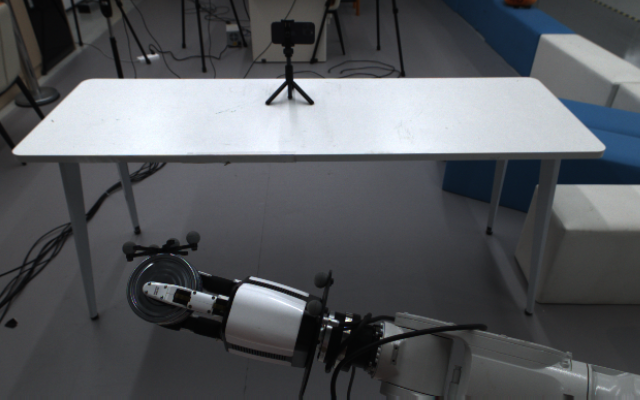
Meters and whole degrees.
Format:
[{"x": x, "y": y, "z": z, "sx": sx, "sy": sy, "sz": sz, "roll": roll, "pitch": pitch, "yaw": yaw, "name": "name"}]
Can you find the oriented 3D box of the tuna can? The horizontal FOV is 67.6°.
[{"x": -0.187, "y": 0.115, "z": 0.591, "sx": 0.085, "sy": 0.034, "sz": 0.085, "roll": 0, "pitch": 72, "yaw": -1, "name": "tuna can"}]
